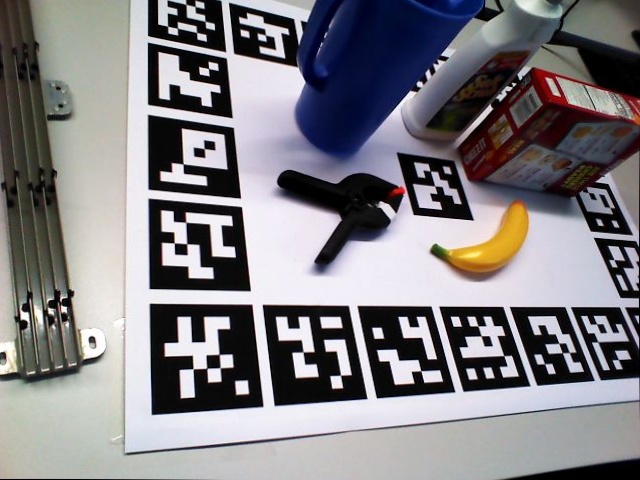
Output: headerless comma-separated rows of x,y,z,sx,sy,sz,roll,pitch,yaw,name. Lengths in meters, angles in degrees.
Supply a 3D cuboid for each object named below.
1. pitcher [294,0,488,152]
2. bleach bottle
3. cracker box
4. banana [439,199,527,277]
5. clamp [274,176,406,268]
0.054,-0.211,0.579,0.188,0.244,0.133,-16,68,-35,pitcher
0.210,-0.228,0.689,0.102,0.252,0.067,3,59,-24,bleach bottle
0.352,-0.142,0.740,0.213,0.165,0.071,4,57,-22,cracker box
0.239,0.000,0.706,0.196,0.039,0.074,-34,79,-37,banana
0.038,-0.035,0.621,0.164,0.037,0.121,-13,66,-33,clamp
